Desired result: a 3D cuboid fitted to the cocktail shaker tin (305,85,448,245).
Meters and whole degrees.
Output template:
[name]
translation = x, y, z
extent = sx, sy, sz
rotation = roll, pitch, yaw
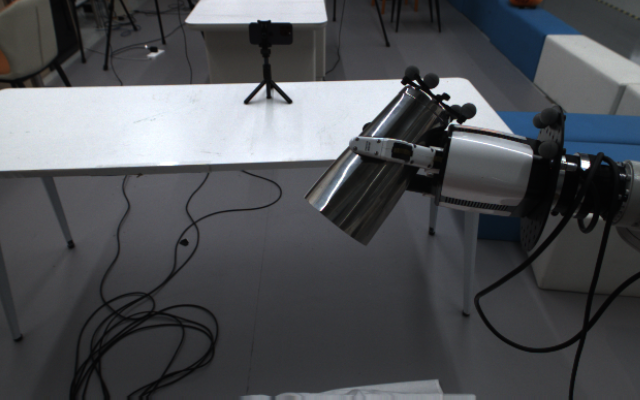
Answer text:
[cocktail shaker tin]
translation = 0.072, -0.046, 0.554
extent = 0.170, 0.093, 0.093
rotation = -50, 46, 4
